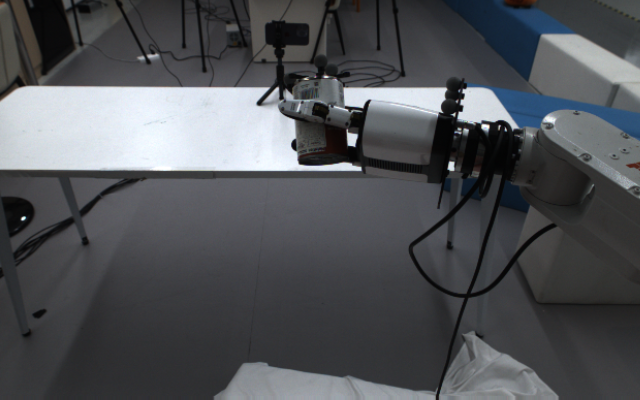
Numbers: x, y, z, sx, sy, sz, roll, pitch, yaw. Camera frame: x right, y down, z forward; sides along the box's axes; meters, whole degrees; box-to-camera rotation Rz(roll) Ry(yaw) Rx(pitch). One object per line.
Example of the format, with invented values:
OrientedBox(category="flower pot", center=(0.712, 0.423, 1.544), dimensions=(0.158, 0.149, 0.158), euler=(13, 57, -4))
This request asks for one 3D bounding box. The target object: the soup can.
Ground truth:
OrientedBox(category="soup can", center=(0.002, -0.100, 0.625), dimensions=(0.067, 0.101, 0.067), euler=(-5, -5, 0))
